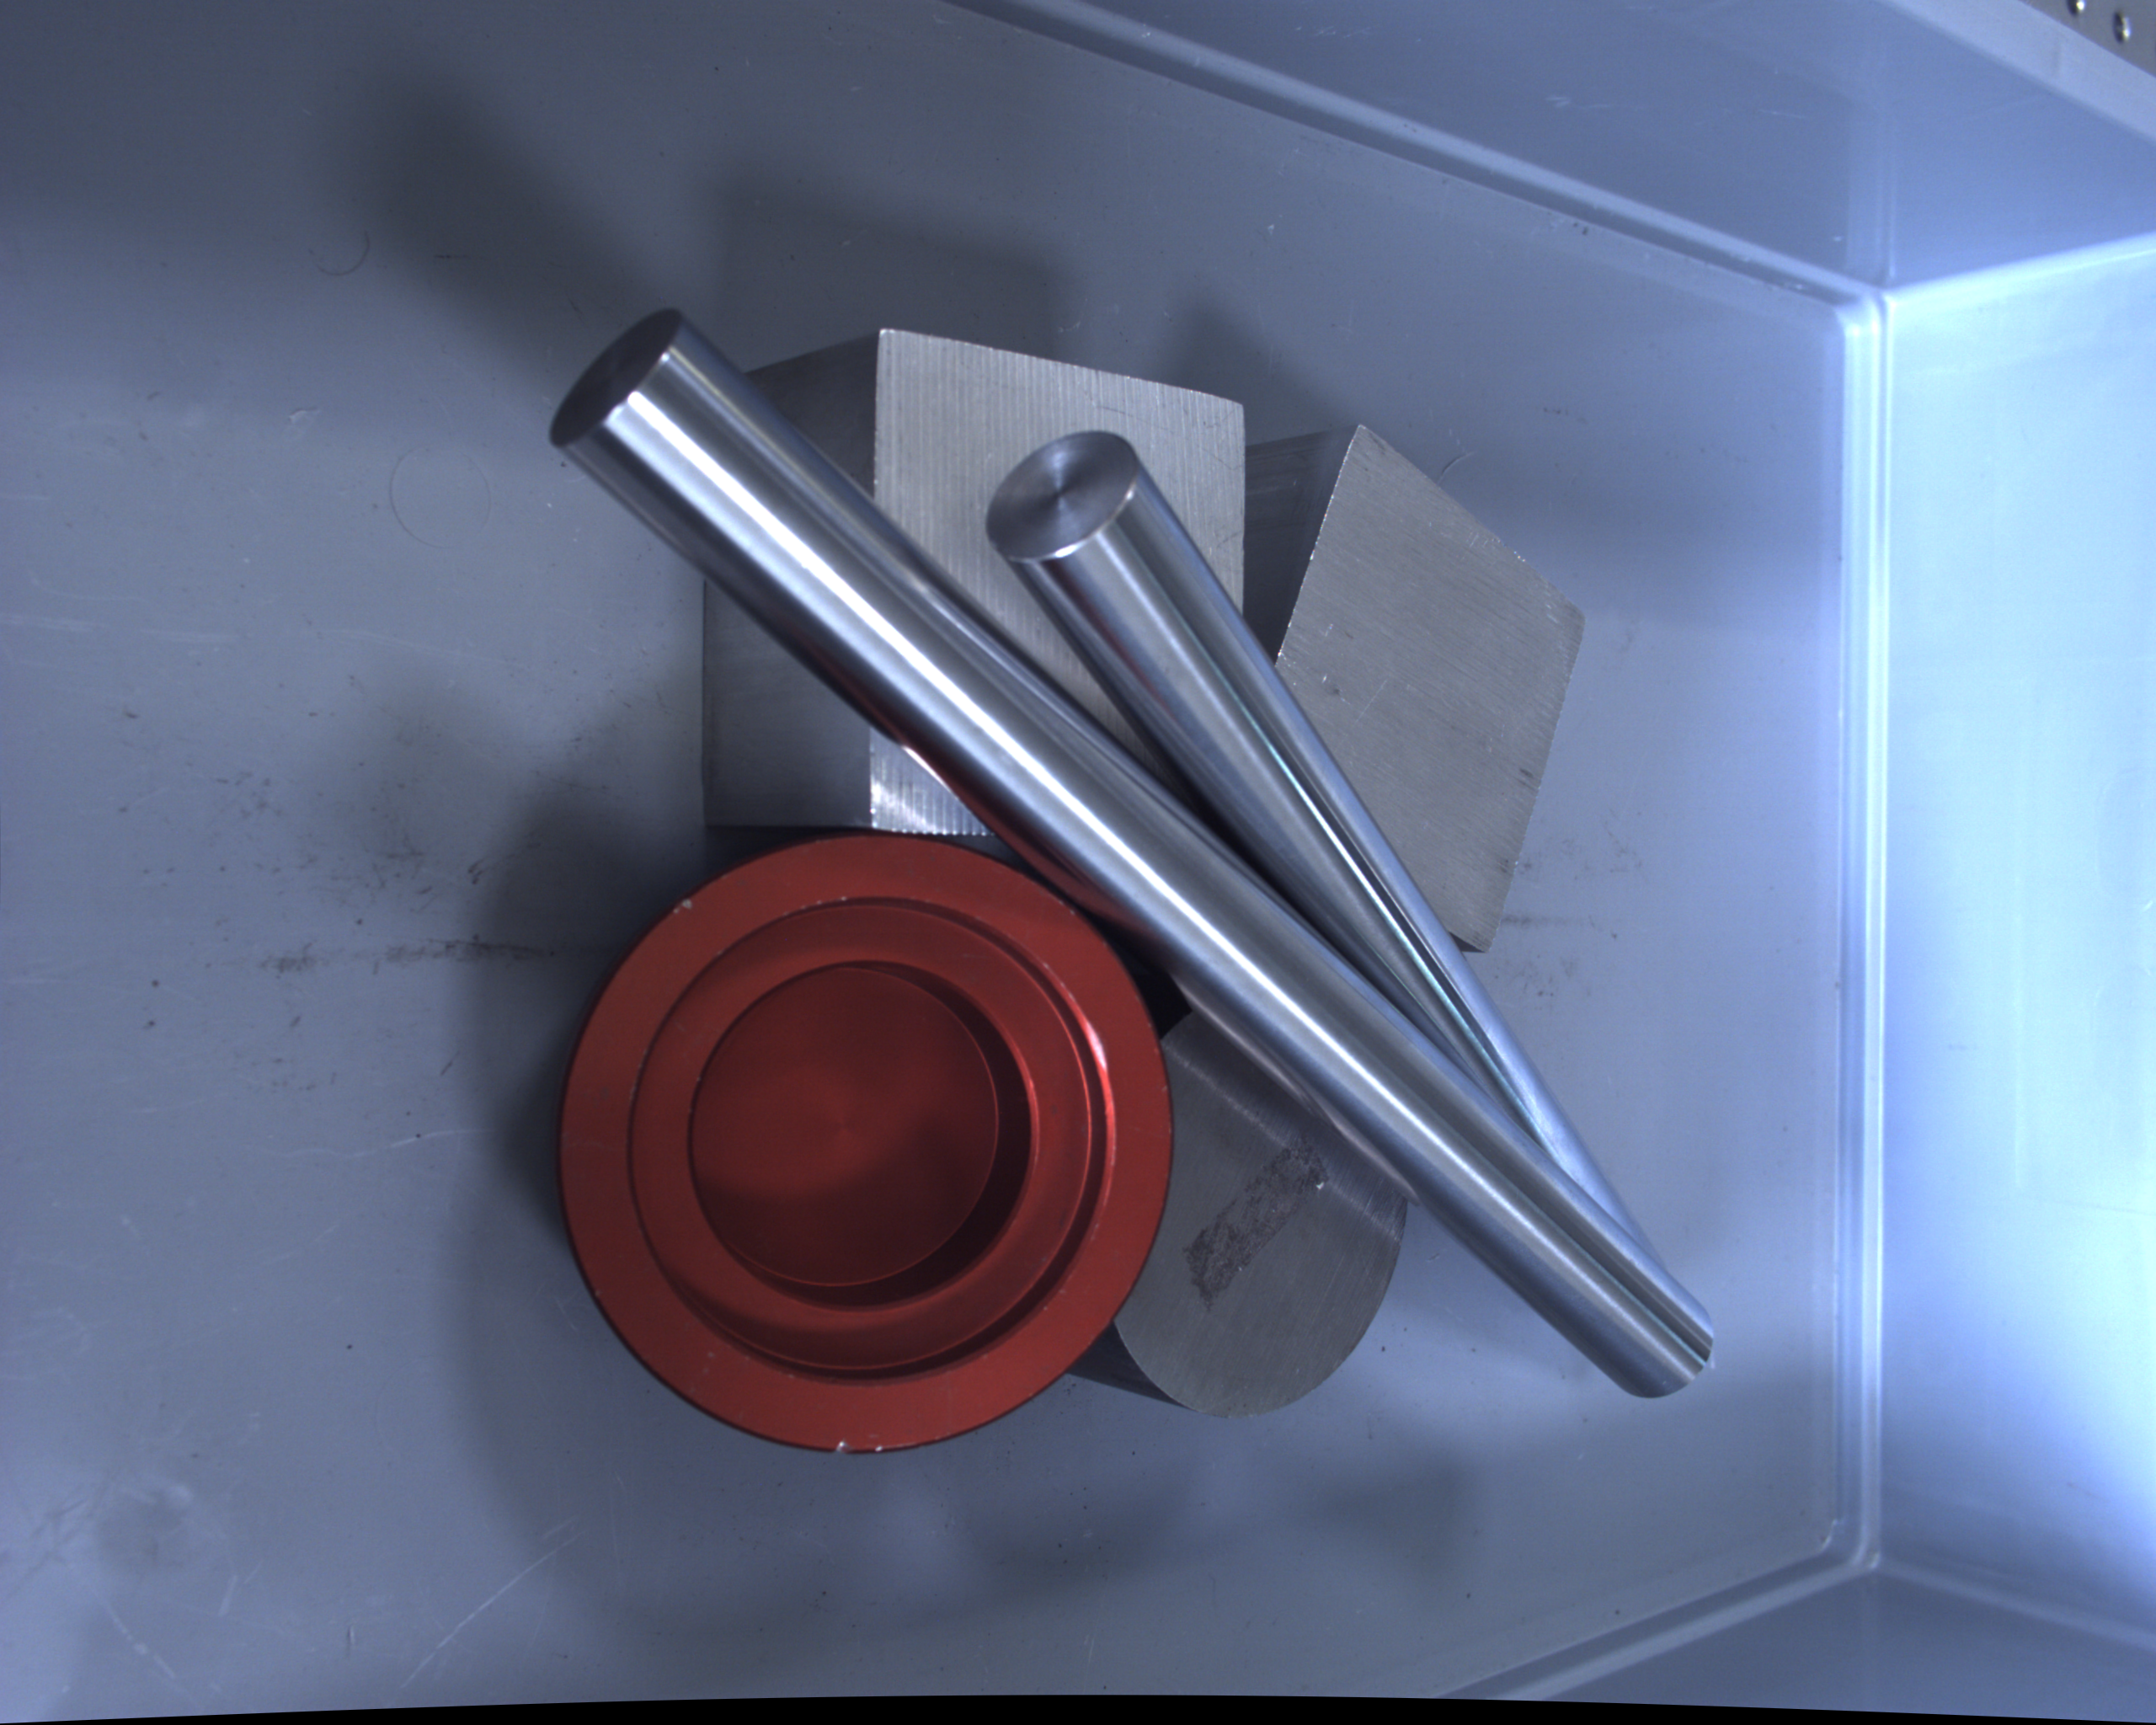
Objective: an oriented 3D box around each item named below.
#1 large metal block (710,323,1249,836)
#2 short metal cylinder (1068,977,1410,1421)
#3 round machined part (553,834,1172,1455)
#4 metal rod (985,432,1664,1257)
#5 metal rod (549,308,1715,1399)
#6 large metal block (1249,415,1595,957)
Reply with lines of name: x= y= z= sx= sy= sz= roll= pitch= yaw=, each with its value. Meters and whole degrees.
large metal block: x=-0.017 y=-0.044 z=0.370 sx=0.081 sy=0.050 sz=0.079 roll=1 pitch=90 yaw=-40
short metal cylinder: x=0.019 y=0.062 z=0.403 sx=0.081 sy=0.050 sz=0.079 roll=0 pitch=90 yaw=-40
round machined part: x=-0.037 y=0.045 z=0.348 sx=0.099 sy=0.042 sz=0.097 roll=1 pitch=87 yaw=-17
metal rod: x=0.067 y=0.026 z=0.412 sx=0.300 sy=0.025 sz=0.025 roll=49 pitch=60 yaw=-45
metal rod: x=0.031 y=0.019 z=0.364 sx=0.300 sy=0.025 sz=0.025 roll=42 pitch=65 yaw=-33
large metal block: x=0.054 y=-0.033 z=0.432 sx=0.080 sy=0.050 sz=0.080 roll=31 pitch=71 yaw=-36
